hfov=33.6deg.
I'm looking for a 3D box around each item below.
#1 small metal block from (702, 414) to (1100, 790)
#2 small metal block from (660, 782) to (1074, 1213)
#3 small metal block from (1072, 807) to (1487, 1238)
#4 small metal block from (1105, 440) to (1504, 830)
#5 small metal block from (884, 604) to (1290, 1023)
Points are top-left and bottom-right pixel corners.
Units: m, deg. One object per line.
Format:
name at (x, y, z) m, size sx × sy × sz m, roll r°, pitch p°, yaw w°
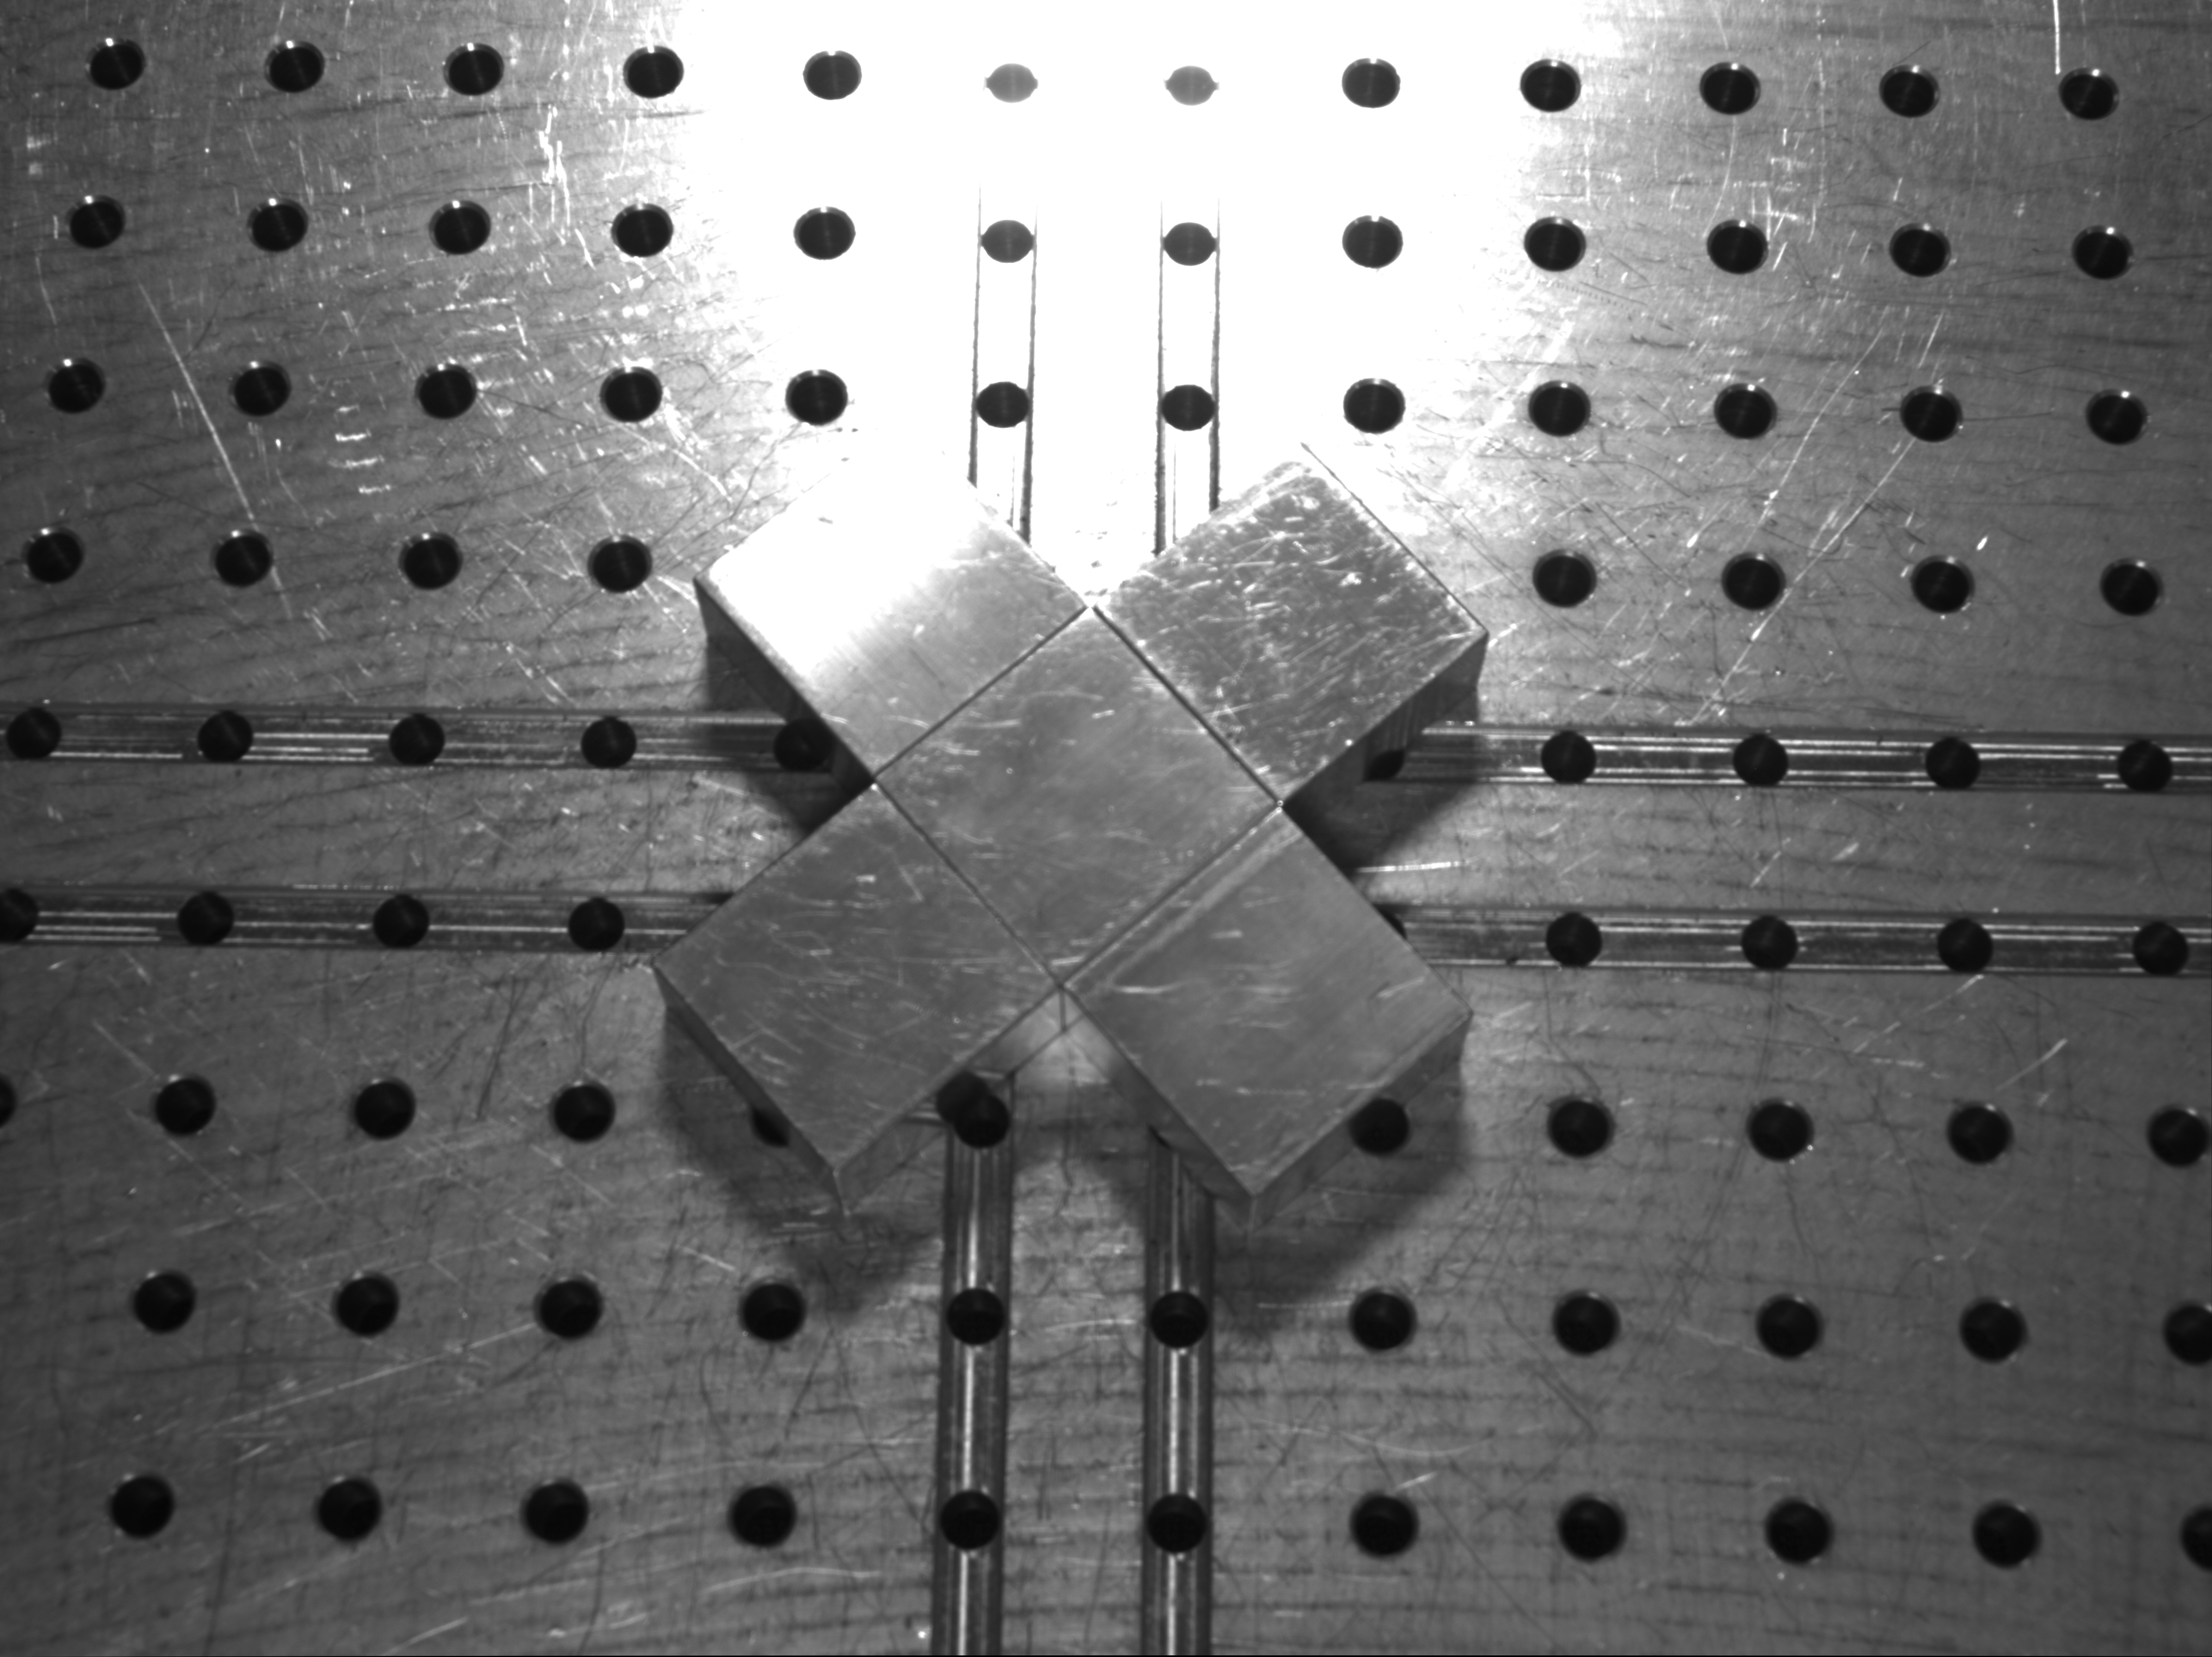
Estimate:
small metal block at (-0.036, -0.037, 0.661) m, size 0.050 × 0.025 × 0.050 m, roll -39°, pitch 74°, yaw -13°
small metal block at (-0.041, 0.029, 0.636) m, size 0.050 × 0.025 × 0.050 m, roll -39°, pitch 75°, yaw -13°
small metal block at (0.030, 0.034, 0.635) m, size 0.050 × 0.025 × 0.050 m, roll -39°, pitch 74°, yaw -13°
small metal block at (0.035, -0.033, 0.659) m, size 0.050 × 0.025 × 0.050 m, roll -39°, pitch 75°, yaw -13°
small metal block at (-0.003, -0.002, 0.647) m, size 0.050 × 0.025 × 0.050 m, roll -39°, pitch 75°, yaw -13°
